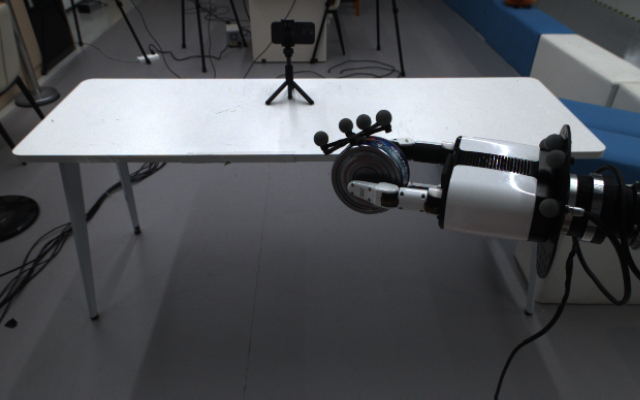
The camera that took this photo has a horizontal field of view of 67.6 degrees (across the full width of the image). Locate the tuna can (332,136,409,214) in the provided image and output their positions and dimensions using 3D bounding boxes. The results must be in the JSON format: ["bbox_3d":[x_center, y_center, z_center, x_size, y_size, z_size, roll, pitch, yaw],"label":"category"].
[{"bbox_3d":[0.059,-0.029,0.555,0.085,0.085,0.034,15,30,17],"label":"tuna can"}]
